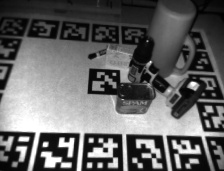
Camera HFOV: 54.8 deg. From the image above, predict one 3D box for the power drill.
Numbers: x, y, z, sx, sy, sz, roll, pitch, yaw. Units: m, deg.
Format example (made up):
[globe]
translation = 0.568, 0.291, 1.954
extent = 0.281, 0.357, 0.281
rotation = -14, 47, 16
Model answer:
[power drill]
translation = 0.136, -0.048, 0.621
extent = 0.186, 0.184, 0.057
rotation = 34, 62, 8

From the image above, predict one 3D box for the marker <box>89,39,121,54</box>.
[marker]
translation = -0.024, -0.137, 0.752
extent = 0.122, 0.020, 0.019
rotation = -22, 63, -19

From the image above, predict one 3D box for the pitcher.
[pitcher]
translation = 0.183, -0.145, 0.664
extent = 0.187, 0.244, 0.134
rotation = 26, 61, 18

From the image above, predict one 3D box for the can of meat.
[can of meat]
translation = 0.066, 0.029, 0.617
extent = 0.102, 0.084, 0.057
rotation = 1, 55, -7

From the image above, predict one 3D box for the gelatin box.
[gelatin box]
translation = 0.033, -0.103, 0.709
extent = 0.089, 0.073, 0.030
rotation = 11, 60, -1
